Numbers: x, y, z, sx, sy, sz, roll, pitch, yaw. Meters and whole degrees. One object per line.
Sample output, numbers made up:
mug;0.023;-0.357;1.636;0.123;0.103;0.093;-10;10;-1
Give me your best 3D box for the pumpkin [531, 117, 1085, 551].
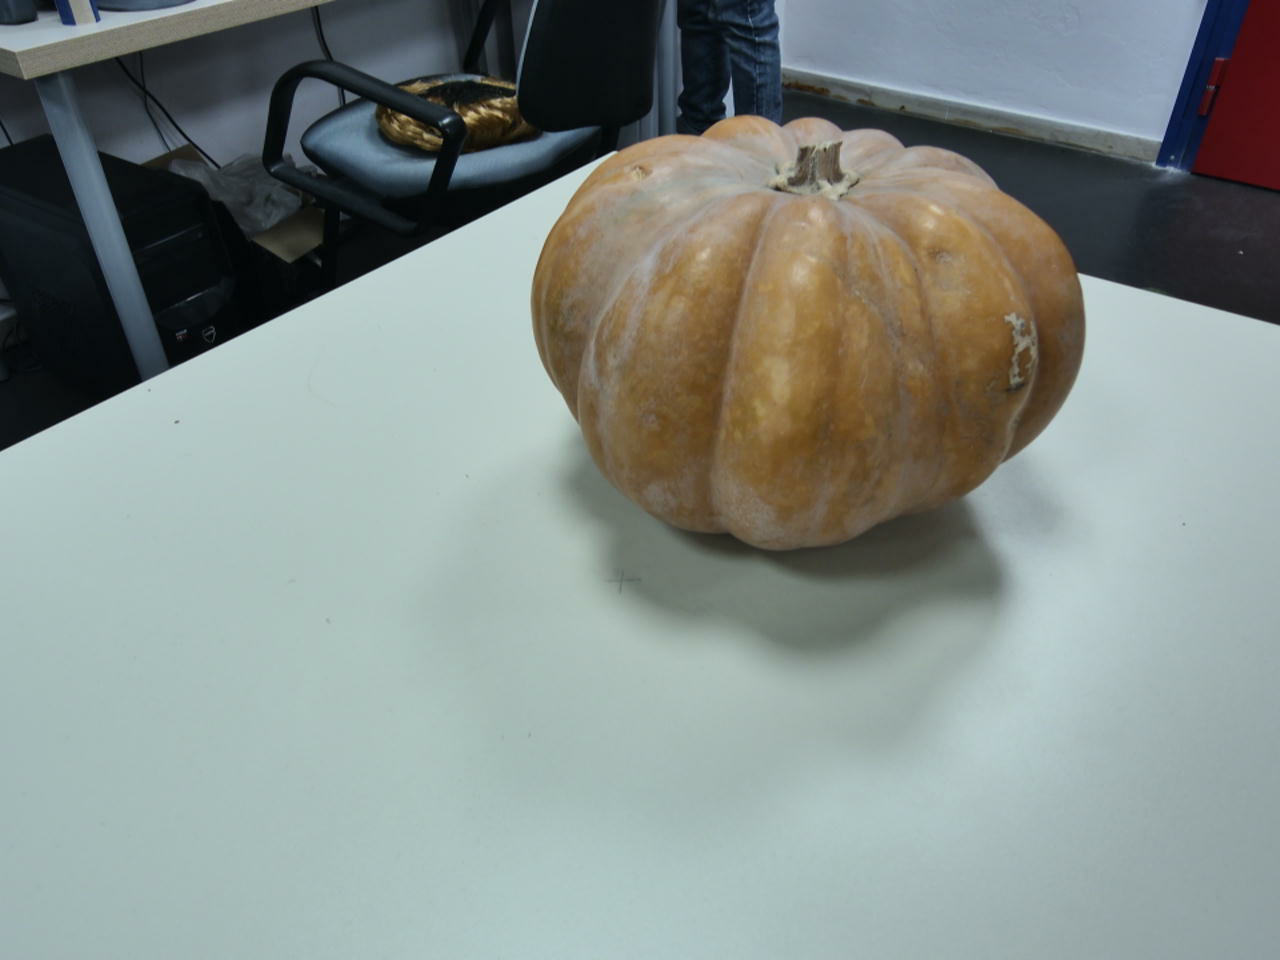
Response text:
pumpkin;0.077;-0.082;0.511;0.277;0.181;0.277;0;37;0
